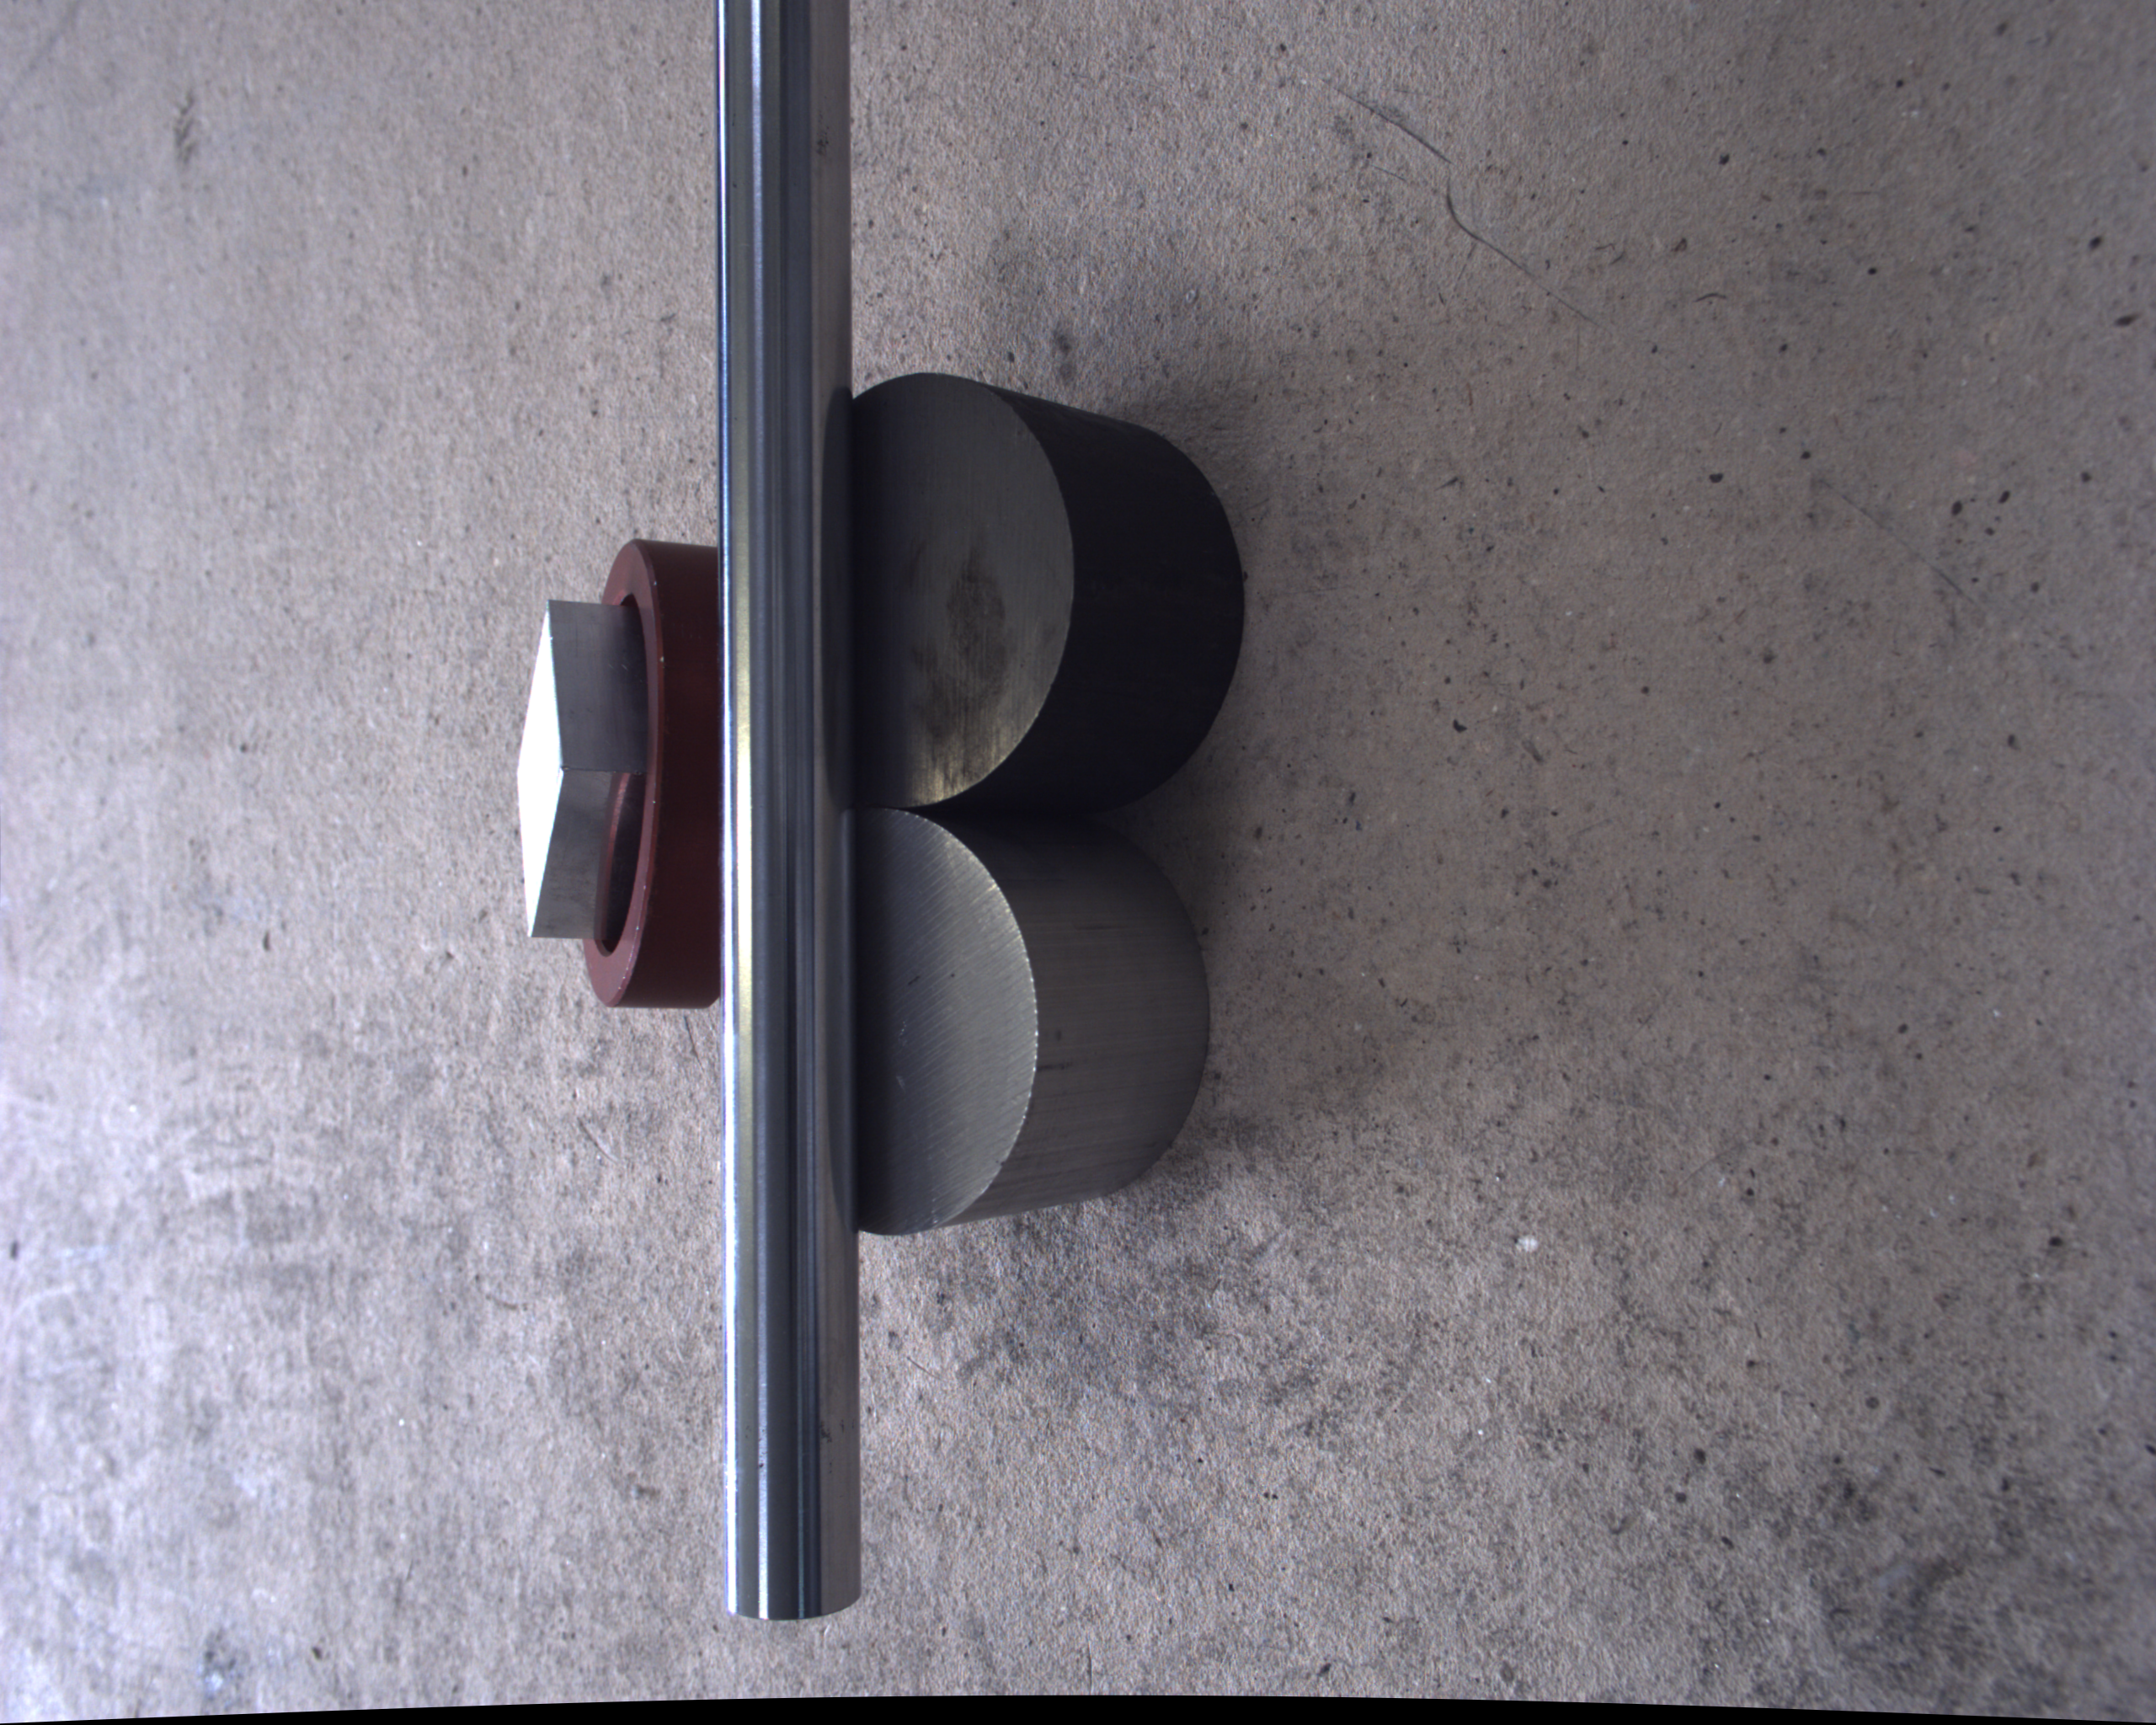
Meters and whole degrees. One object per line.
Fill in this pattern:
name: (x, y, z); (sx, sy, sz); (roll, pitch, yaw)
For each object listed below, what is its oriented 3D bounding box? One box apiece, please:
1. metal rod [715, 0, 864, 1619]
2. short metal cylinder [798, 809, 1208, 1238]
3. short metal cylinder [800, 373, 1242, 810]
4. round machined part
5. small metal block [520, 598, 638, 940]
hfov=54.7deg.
metal rod: (-0.053, -0.014, 0.386); (0.025, 0.025, 0.298); (-1, 89, 40)
short metal cylinder: (-0.022, 0.030, 0.408); (0.080, 0.050, 0.080); (-1, 89, 40)
short metal cylinder: (-0.016, -0.050, 0.404); (0.080, 0.050, 0.079); (0, 90, 40)
round machined part: (-0.077, -0.018, 0.443); (0.098, 0.042, 0.097); (-177, 90, -69)
small metal block: (-0.100, -0.019, 0.436); (0.050, 0.025, 0.050); (114, 150, -42)
